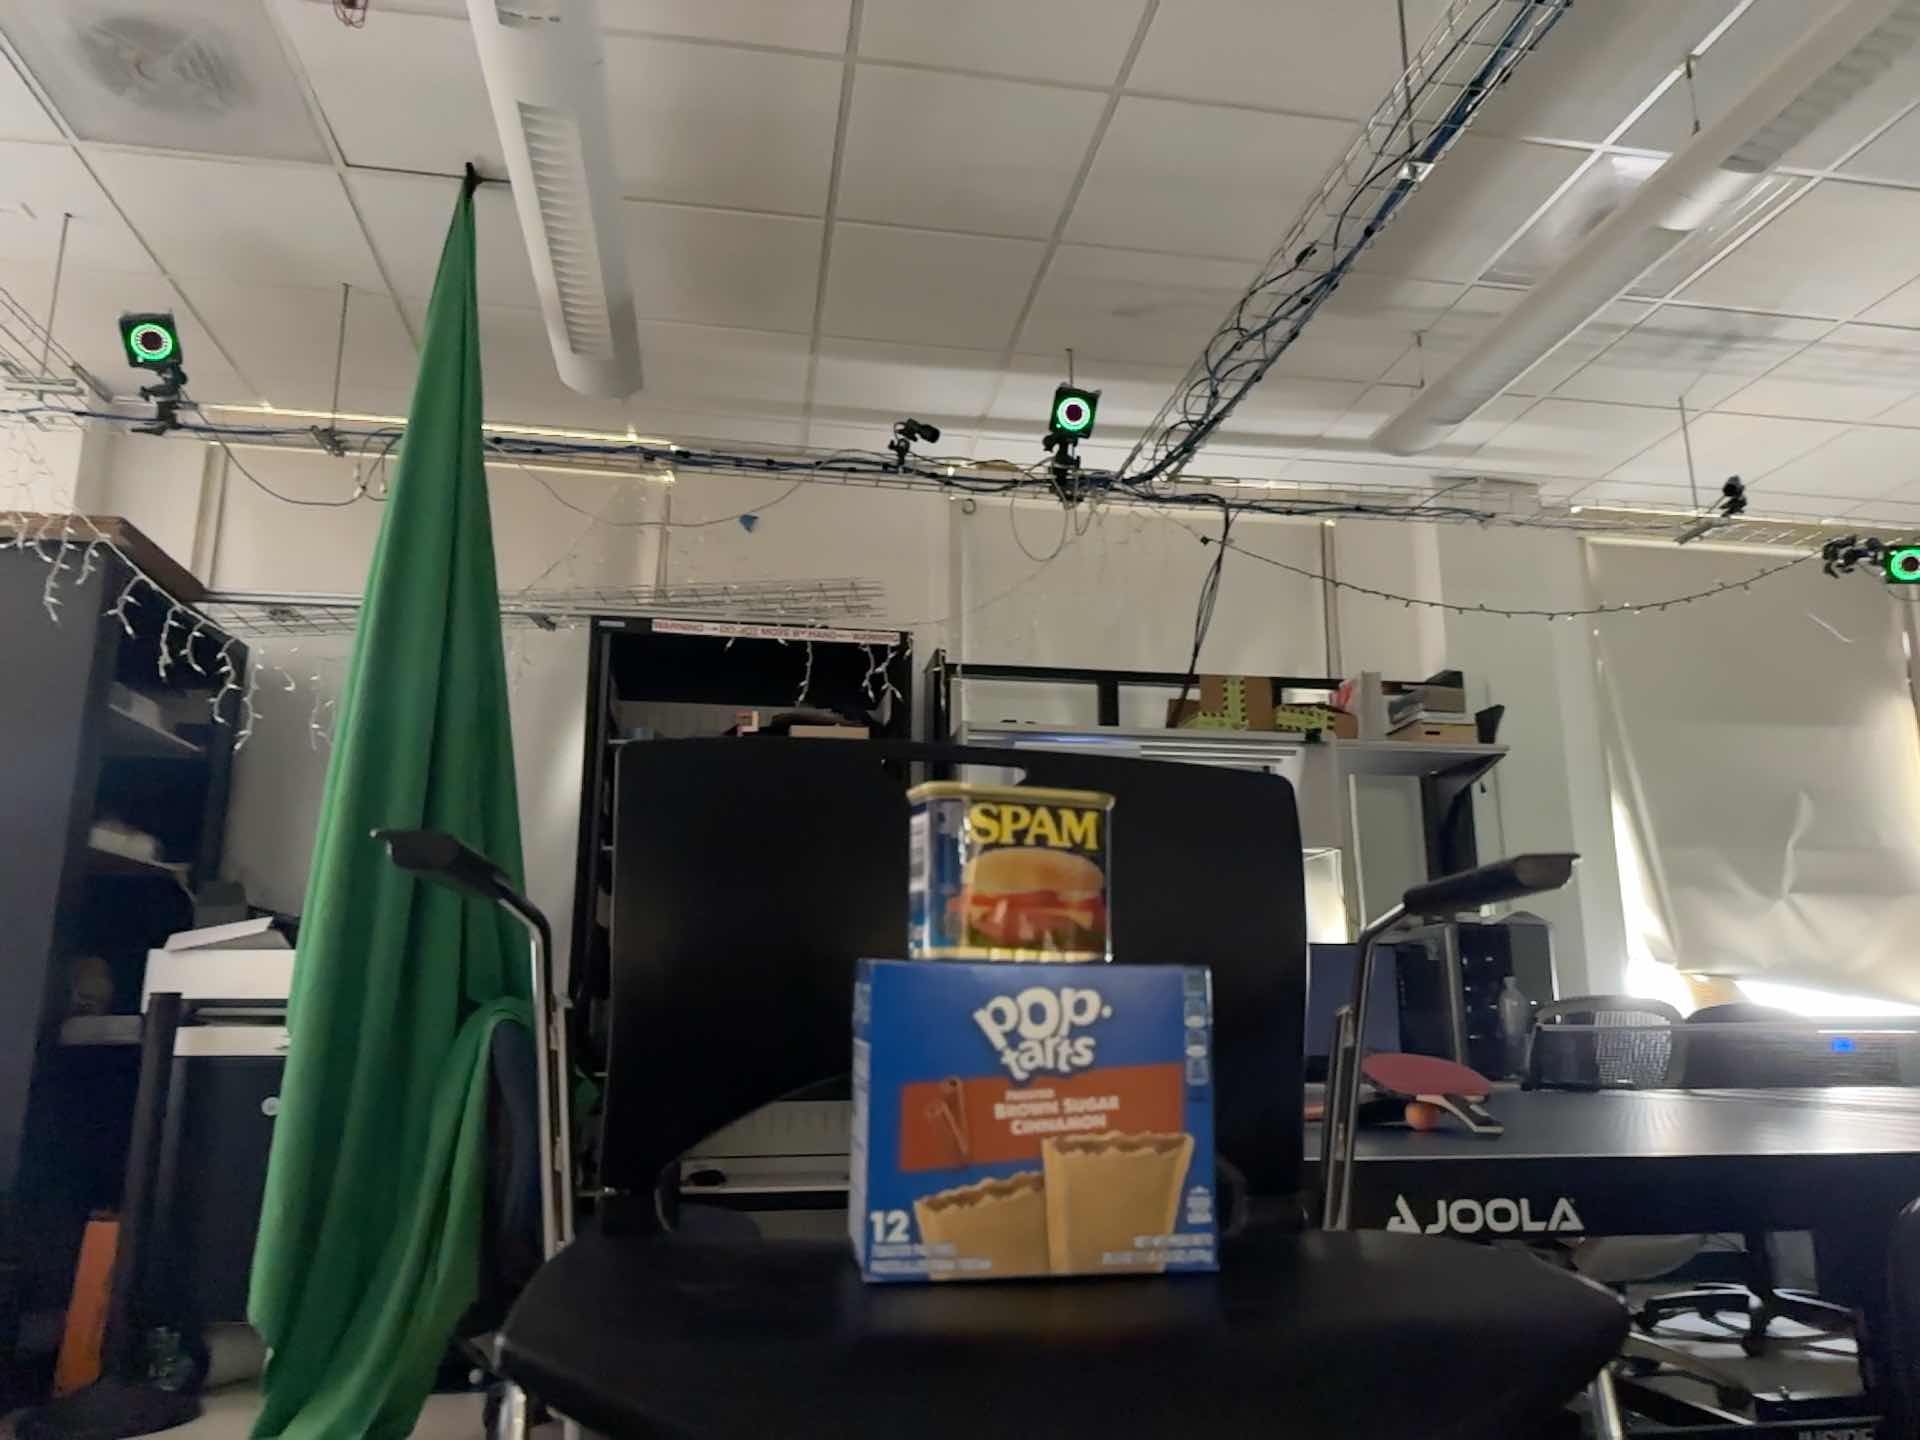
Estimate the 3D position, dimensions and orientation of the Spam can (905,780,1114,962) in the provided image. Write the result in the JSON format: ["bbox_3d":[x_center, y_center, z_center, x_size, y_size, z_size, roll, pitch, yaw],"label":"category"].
[{"bbox_3d":[0.023,0.077,0.672,0.100,0.083,0.056,4,-9,-15],"label":"Spam can"}]

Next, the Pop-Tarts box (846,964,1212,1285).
[{"bbox_3d":[0.031,0.191,0.661,0.161,0.135,0.075,2,-9,-13],"label":"Pop-Tarts box"}]
